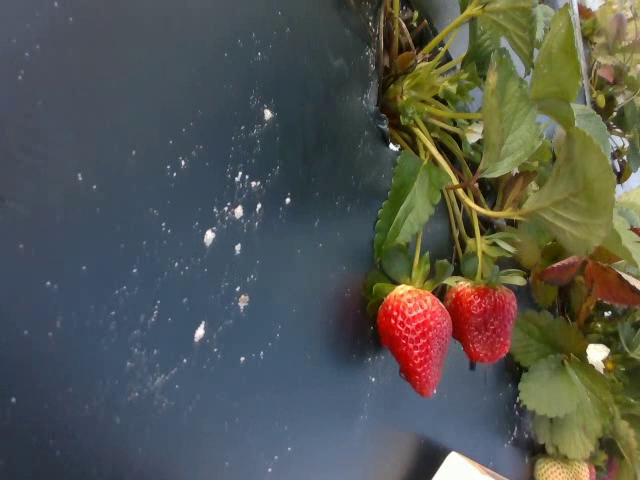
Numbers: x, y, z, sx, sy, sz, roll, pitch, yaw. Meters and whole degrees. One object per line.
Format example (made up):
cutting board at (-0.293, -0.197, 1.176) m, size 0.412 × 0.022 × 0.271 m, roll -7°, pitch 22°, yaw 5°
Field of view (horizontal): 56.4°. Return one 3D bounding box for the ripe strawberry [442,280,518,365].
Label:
ripe strawberry at (0.100, 0.048, 0.346) m, size 0.042 × 0.053 × 0.034 m, roll 17°, pitch -25°, yaw -38°

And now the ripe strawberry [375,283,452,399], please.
ripe strawberry at (0.052, 0.052, 0.301) m, size 0.050 × 0.061 × 0.045 m, roll 24°, pitch -32°, yaw -39°
